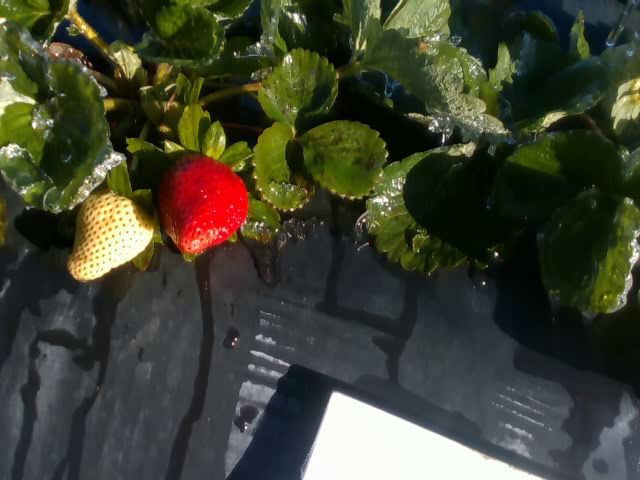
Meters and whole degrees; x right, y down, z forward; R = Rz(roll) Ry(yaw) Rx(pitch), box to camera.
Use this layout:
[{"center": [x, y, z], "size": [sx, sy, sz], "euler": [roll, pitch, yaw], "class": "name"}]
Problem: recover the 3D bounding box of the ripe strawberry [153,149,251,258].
[{"center": [-0.053, -0.007, 0.281], "size": [0.042, 0.046, 0.061], "euler": [7, 36, 1], "class": "ripe strawberry"}]
